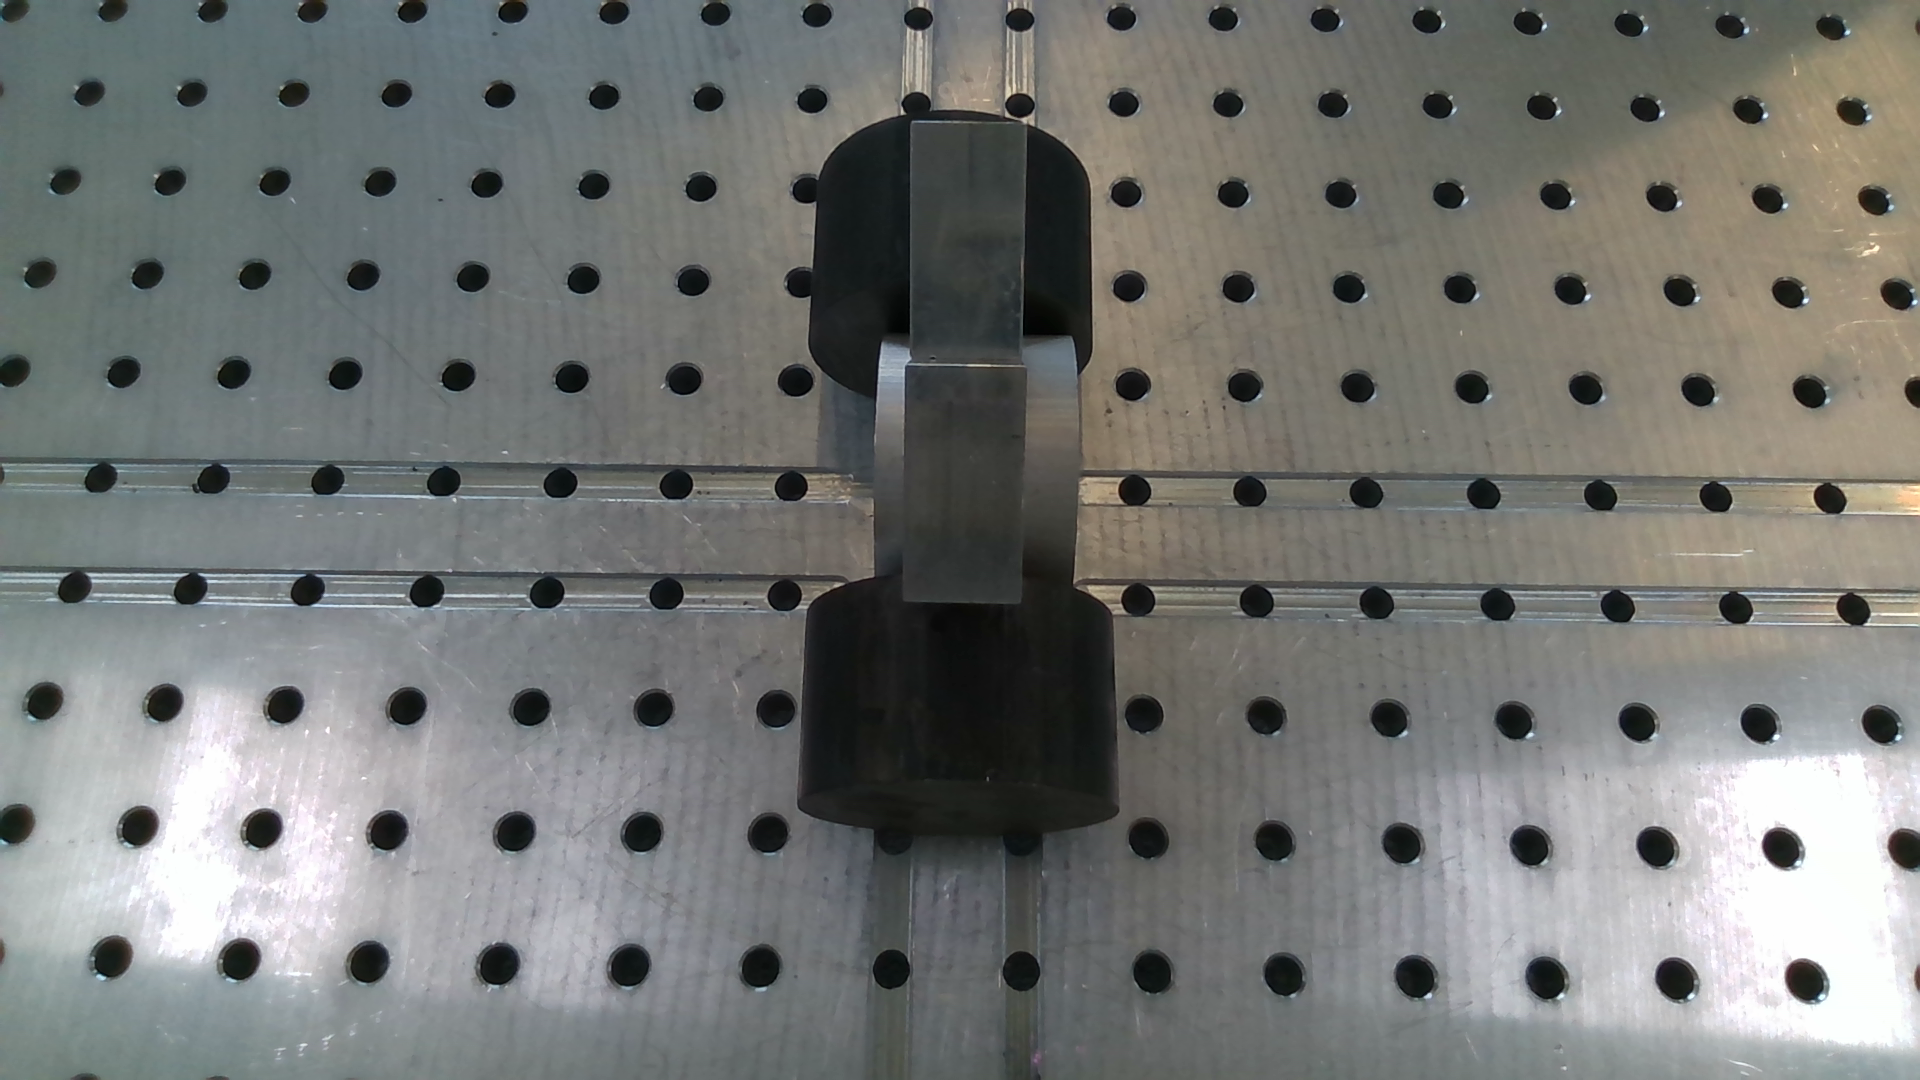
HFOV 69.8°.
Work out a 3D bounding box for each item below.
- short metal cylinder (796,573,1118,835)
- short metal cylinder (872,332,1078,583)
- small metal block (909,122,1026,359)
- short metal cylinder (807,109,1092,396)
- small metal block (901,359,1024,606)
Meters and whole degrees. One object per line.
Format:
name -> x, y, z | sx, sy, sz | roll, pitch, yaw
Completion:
short metal cylinder -> -0.001, 0.044, 0.352 | 0.080, 0.080, 0.050 | 1, 69, 0
short metal cylinder -> 0.004, -0.016, 0.375 | 0.050, 0.080, 0.080 | 1, 70, 0
small metal block -> 0.002, -0.070, 0.323 | 0.025, 0.050, 0.050 | 1, 102, 0
short metal cylinder -> -0.003, -0.078, 0.396 | 0.080, 0.080, 0.050 | 1, 70, 0
small metal block -> 0.000, -0.015, 0.309 | 0.025, 0.050, 0.050 | 1, 101, 0
